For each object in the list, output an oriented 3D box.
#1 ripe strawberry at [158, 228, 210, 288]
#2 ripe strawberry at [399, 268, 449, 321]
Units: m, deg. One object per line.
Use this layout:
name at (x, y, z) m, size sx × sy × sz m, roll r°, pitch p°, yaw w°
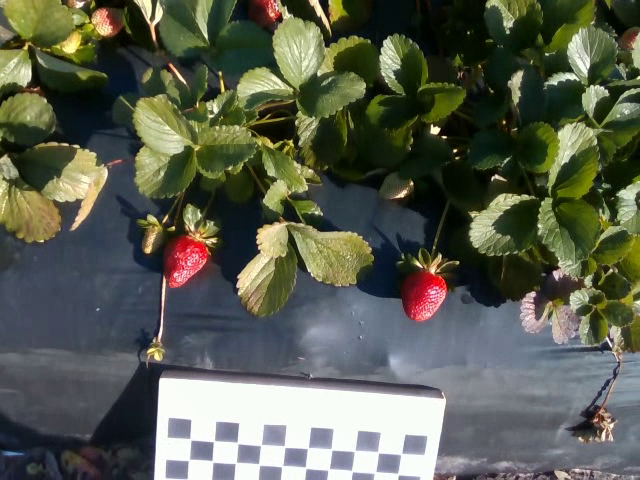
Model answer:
ripe strawberry at (-0.117, 0.020, 0.589) m, size 0.041 × 0.053 × 0.043 m, roll 15°, pitch -27°, yaw -9°
ripe strawberry at (0.088, 0.053, 0.592) m, size 0.042 × 0.050 × 0.043 m, roll 38°, pitch -34°, yaw -15°
